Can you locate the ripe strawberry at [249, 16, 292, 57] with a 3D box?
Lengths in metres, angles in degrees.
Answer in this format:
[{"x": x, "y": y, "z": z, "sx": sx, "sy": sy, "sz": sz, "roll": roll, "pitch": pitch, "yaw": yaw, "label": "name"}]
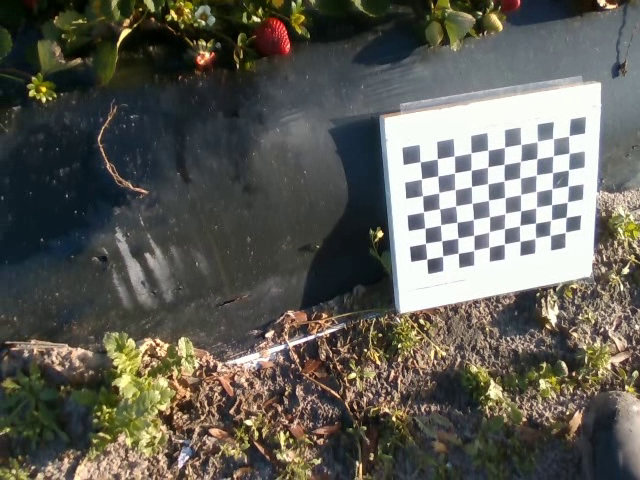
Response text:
[{"x": -0.053, "y": -0.239, "z": 0.692, "sx": 0.052, "sy": 0.052, "sz": 0.041, "roll": -39, "pitch": -37, "yaw": 3, "label": "ripe strawberry"}]
